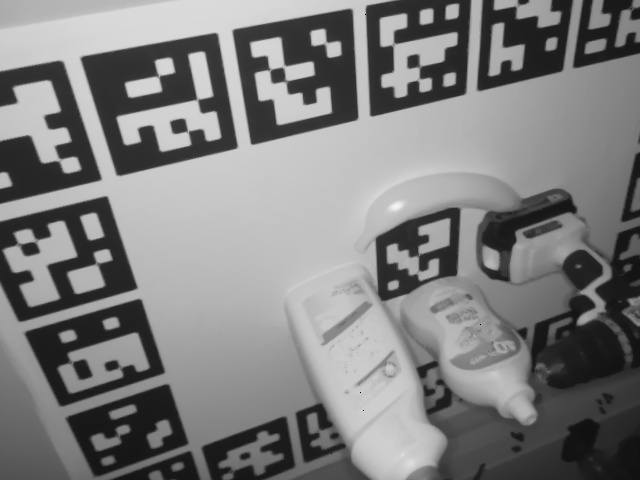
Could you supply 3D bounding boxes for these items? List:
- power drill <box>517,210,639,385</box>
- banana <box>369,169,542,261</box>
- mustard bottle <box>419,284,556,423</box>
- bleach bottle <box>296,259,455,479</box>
[{"bbox_3d":[0.277,0.050,0.686,0.186,0.187,0.057,-17,129,-10],"label":"power drill"},{"bbox_3d":[0.137,-0.035,0.695,0.199,0.038,0.074,-14,117,-17],"label":"banana"},{"bbox_3d":[0.181,0.119,0.708,0.097,0.191,0.058,-14,122,-12],"label":"mustard bottle"},{"bbox_3d":[0.059,0.114,0.629,0.103,0.250,0.067,-22,123,-8],"label":"bleach bottle"}]
